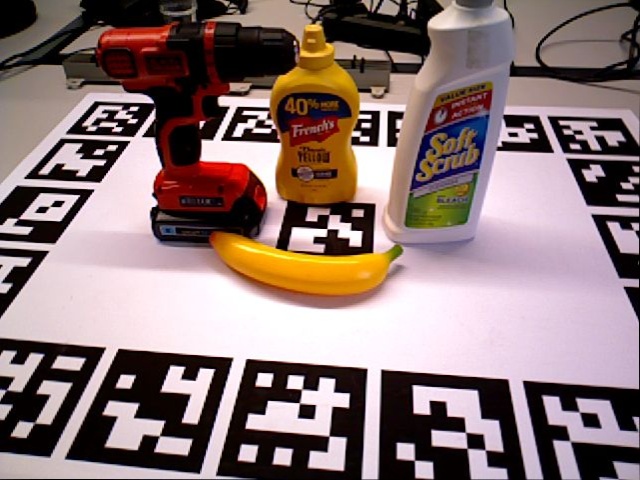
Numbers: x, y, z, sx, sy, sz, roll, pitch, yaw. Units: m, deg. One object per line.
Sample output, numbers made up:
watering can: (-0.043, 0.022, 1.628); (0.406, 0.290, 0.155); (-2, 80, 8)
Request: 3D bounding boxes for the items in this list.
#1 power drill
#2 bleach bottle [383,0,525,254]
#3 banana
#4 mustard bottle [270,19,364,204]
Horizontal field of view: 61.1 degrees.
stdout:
power drill: (-0.111, -0.111, 0.522); (0.184, 0.191, 0.056); (4, 35, 1)
bleach bottle: (0.119, -0.100, 0.498); (0.102, 0.256, 0.067); (-1, 43, -1)
banana: (-0.013, 0.020, 0.515); (0.197, 0.039, 0.073); (4, 46, 9)
mustard bottle: (-0.003, -0.130, 0.568); (0.096, 0.196, 0.057); (5, 42, 5)
